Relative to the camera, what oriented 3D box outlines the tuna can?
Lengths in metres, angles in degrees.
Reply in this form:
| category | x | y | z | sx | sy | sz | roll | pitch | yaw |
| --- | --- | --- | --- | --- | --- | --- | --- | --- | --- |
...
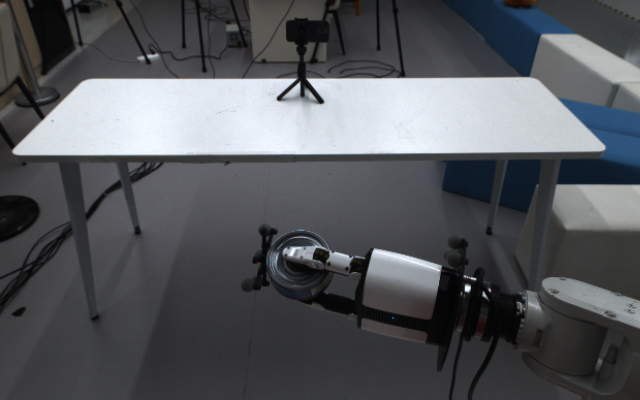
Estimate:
| category | x | y | z | sx | sy | sz | roll | pitch | yaw |
| --- | --- | --- | --- | --- | --- | --- | --- | --- | --- |
| tuna can | -0.022 | 0.085 | 0.616 | 0.085 | 0.034 | 0.085 | -2 | 57 | 3 |
